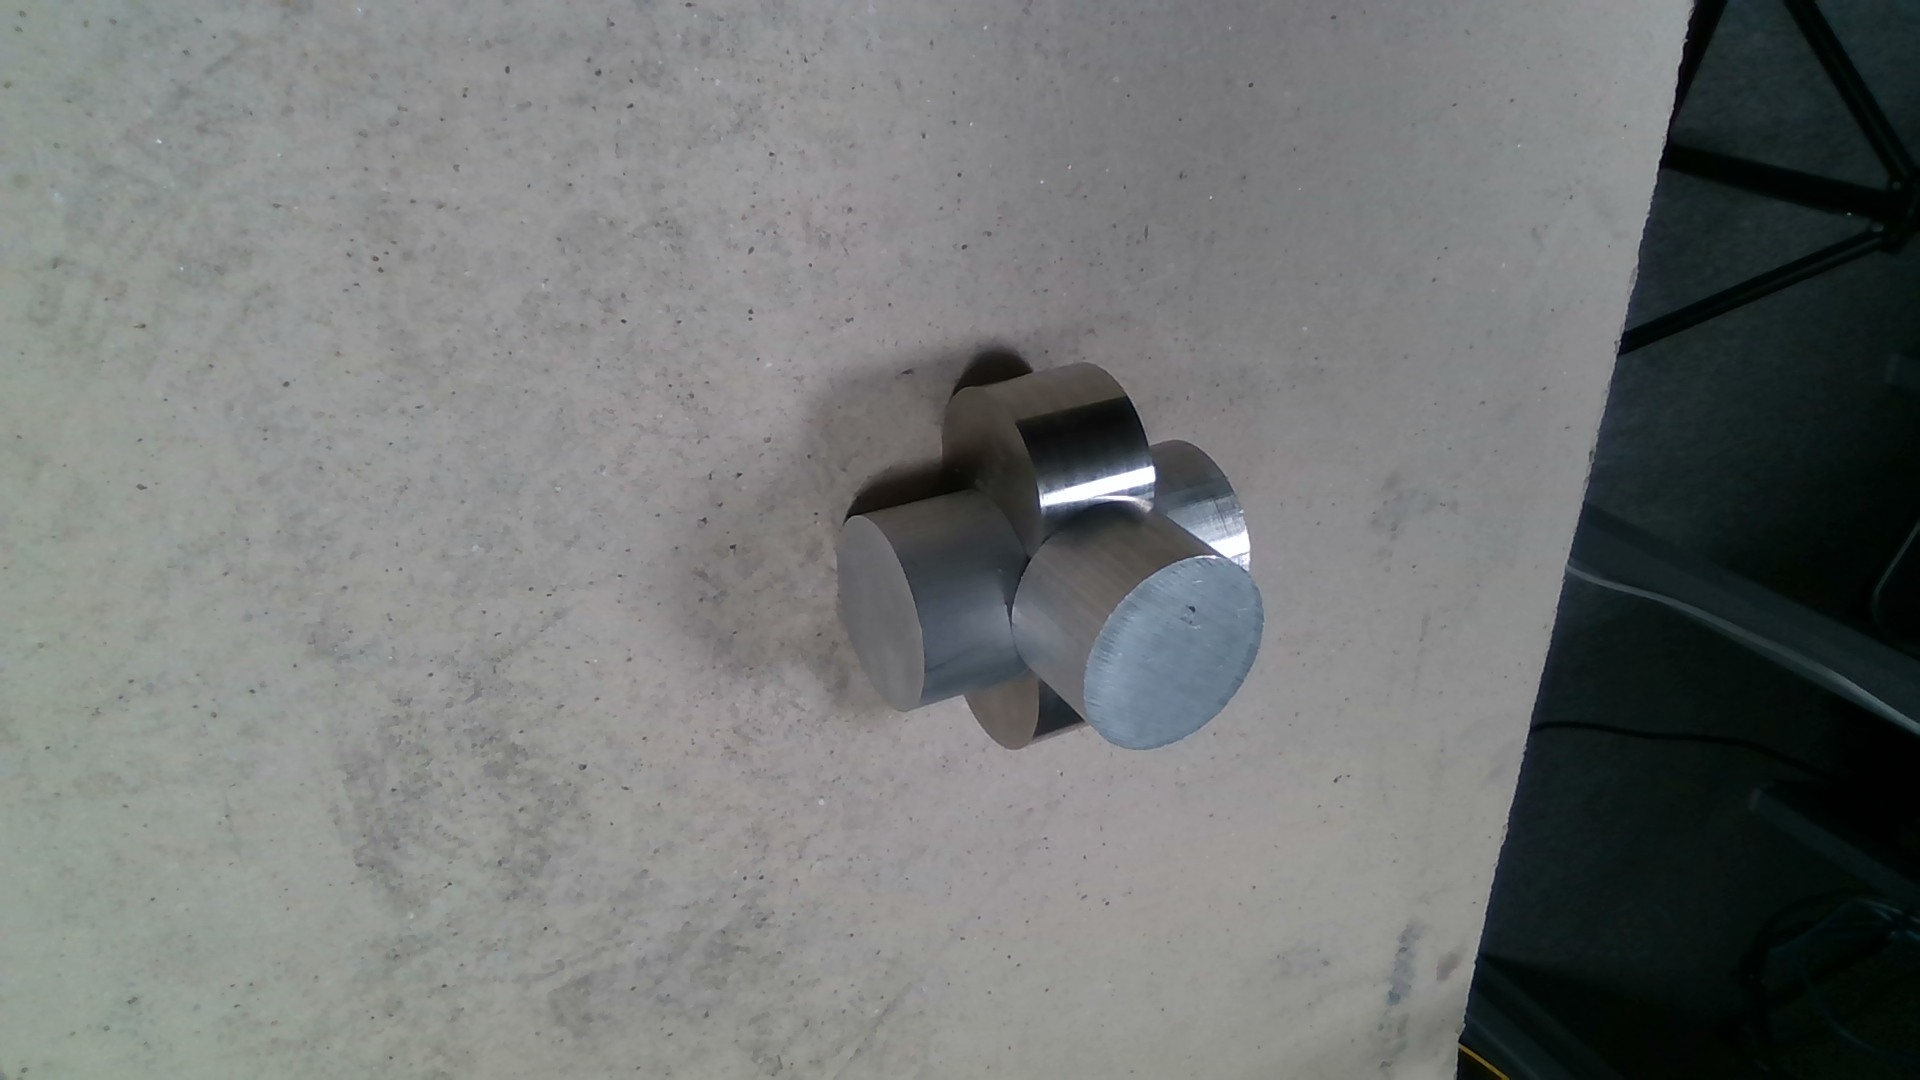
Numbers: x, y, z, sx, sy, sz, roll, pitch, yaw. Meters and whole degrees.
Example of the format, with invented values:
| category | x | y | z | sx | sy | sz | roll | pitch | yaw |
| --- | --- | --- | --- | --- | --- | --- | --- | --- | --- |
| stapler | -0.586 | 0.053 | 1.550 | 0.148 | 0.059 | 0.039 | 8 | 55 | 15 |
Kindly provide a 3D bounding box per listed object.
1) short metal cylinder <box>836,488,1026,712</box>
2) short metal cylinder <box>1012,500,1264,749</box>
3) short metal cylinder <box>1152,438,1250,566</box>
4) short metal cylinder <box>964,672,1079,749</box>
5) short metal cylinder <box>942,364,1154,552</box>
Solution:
| category | x | y | z | sx | sy | sz | roll | pitch | yaw |
| --- | --- | --- | --- | --- | --- | --- | --- | --- | --- |
| short metal cylinder | -0.010 | 0.023 | 0.552 | 0.050 | 0.080 | 0.080 | -15 | 122 | -25 |
| short metal cylinder | 0.067 | 0.031 | 0.519 | 0.080 | 0.050 | 0.080 | -14 | 122 | -25 |
| short metal cylinder | 0.080 | 0.001 | 0.595 | 0.050 | 0.080 | 0.080 | -16 | 122 | -24 |
| short metal cylinder | 0.034 | 0.044 | 0.590 | 0.050 | 0.080 | 0.080 | -15 | 122 | -25 |
| short metal cylinder | 0.034 | -0.028 | 0.551 | 0.050 | 0.080 | 0.080 | -16 | 122 | -24 |
